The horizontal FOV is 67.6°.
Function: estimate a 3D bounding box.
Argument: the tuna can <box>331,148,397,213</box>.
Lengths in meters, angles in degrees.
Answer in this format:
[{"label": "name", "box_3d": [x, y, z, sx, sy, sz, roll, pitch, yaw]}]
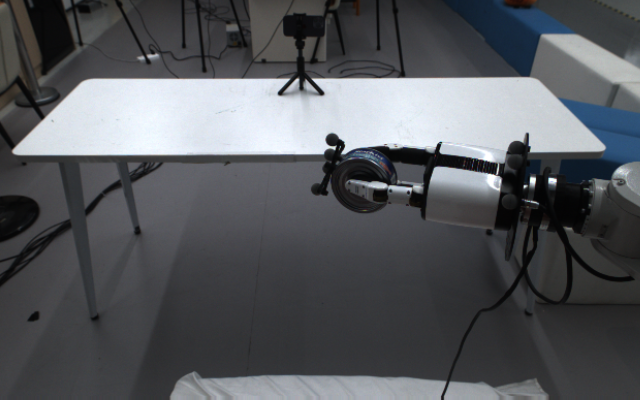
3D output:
[{"label": "tuna can", "box_3d": [0.061, -0.027, 0.655, 0.085, 0.085, 0.034, 12, 30, 14]}]
